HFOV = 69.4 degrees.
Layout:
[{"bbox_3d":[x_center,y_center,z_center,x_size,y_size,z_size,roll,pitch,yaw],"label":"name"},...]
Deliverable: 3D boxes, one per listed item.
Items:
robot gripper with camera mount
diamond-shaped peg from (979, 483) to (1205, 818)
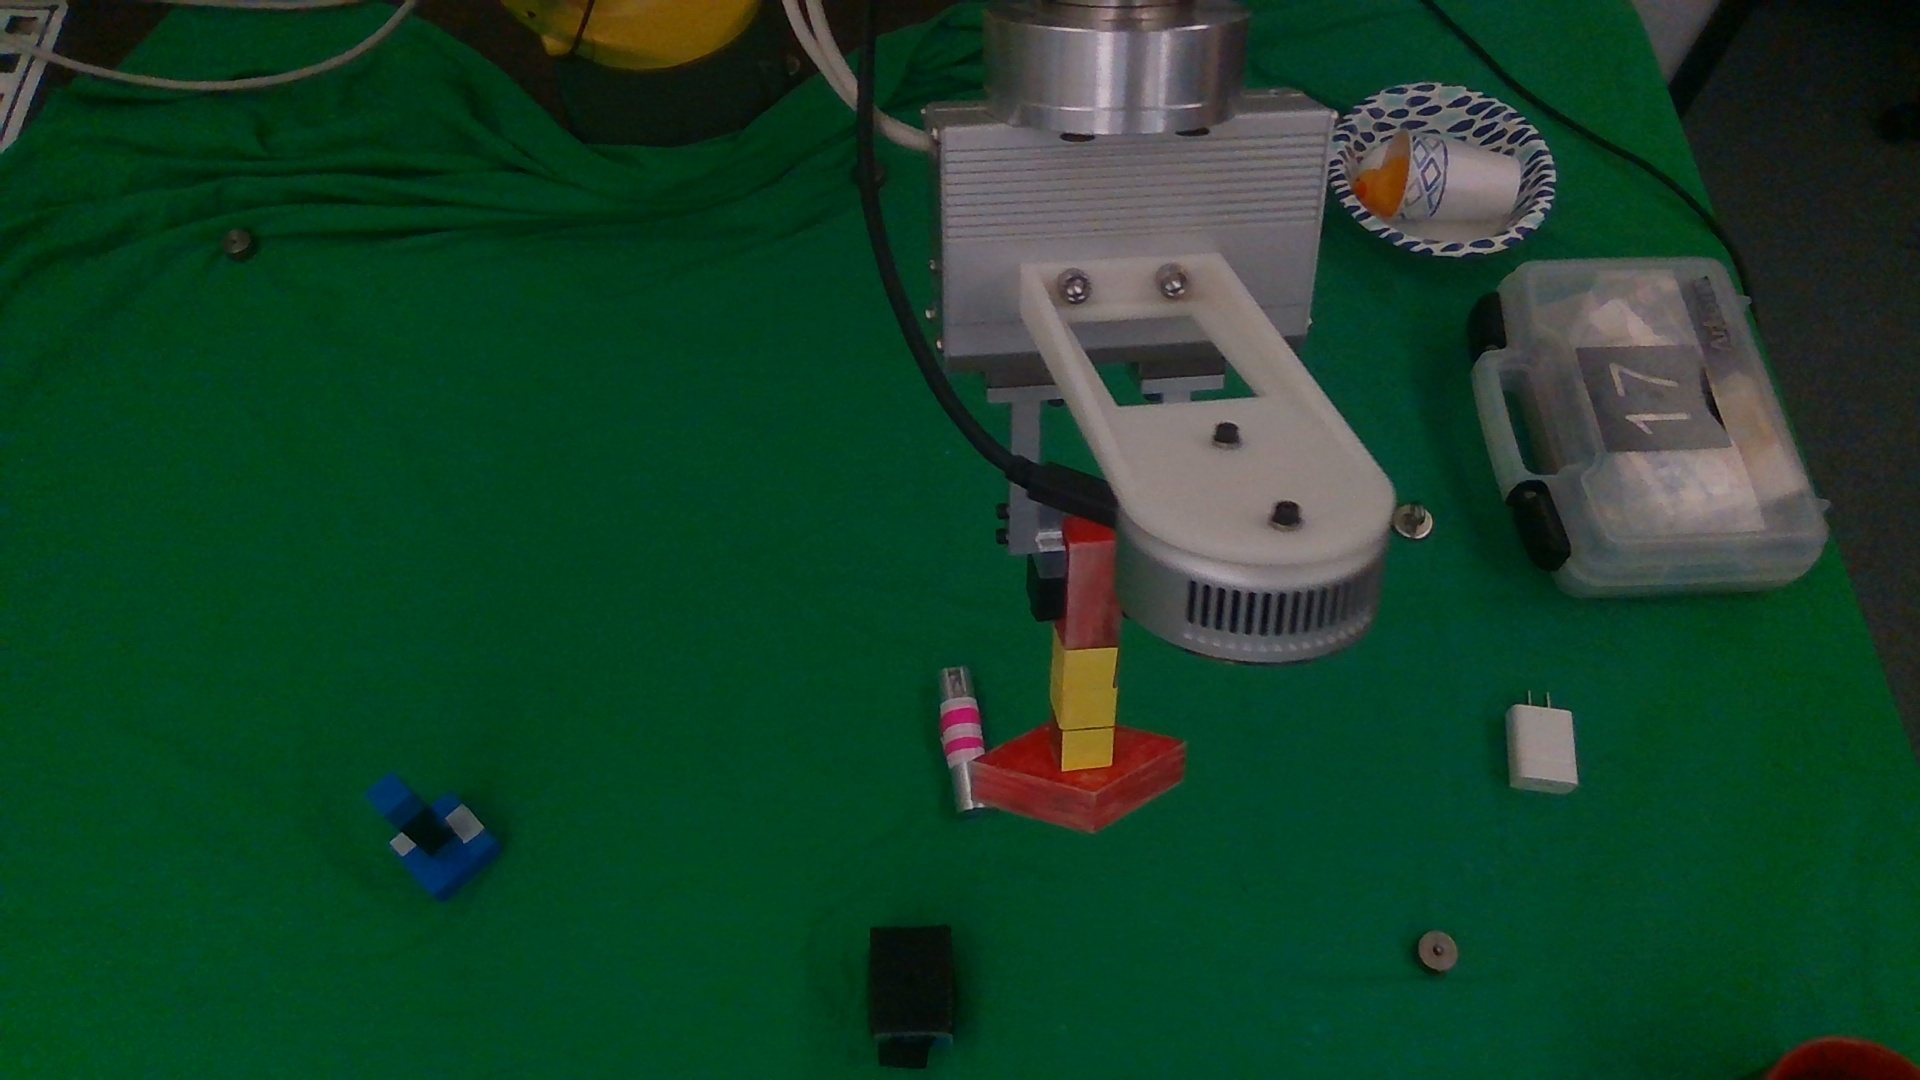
[{"bbox_3d":[0.069,-0.015,0.380,0.119,0.158,0.194,-6,32,-12],"label":"robot gripper with camera mount"},{"bbox_3d":[0.050,0.039,0.498,0.074,0.122,0.045,-18,33,-31],"label":"diamond-shaped peg"}]
